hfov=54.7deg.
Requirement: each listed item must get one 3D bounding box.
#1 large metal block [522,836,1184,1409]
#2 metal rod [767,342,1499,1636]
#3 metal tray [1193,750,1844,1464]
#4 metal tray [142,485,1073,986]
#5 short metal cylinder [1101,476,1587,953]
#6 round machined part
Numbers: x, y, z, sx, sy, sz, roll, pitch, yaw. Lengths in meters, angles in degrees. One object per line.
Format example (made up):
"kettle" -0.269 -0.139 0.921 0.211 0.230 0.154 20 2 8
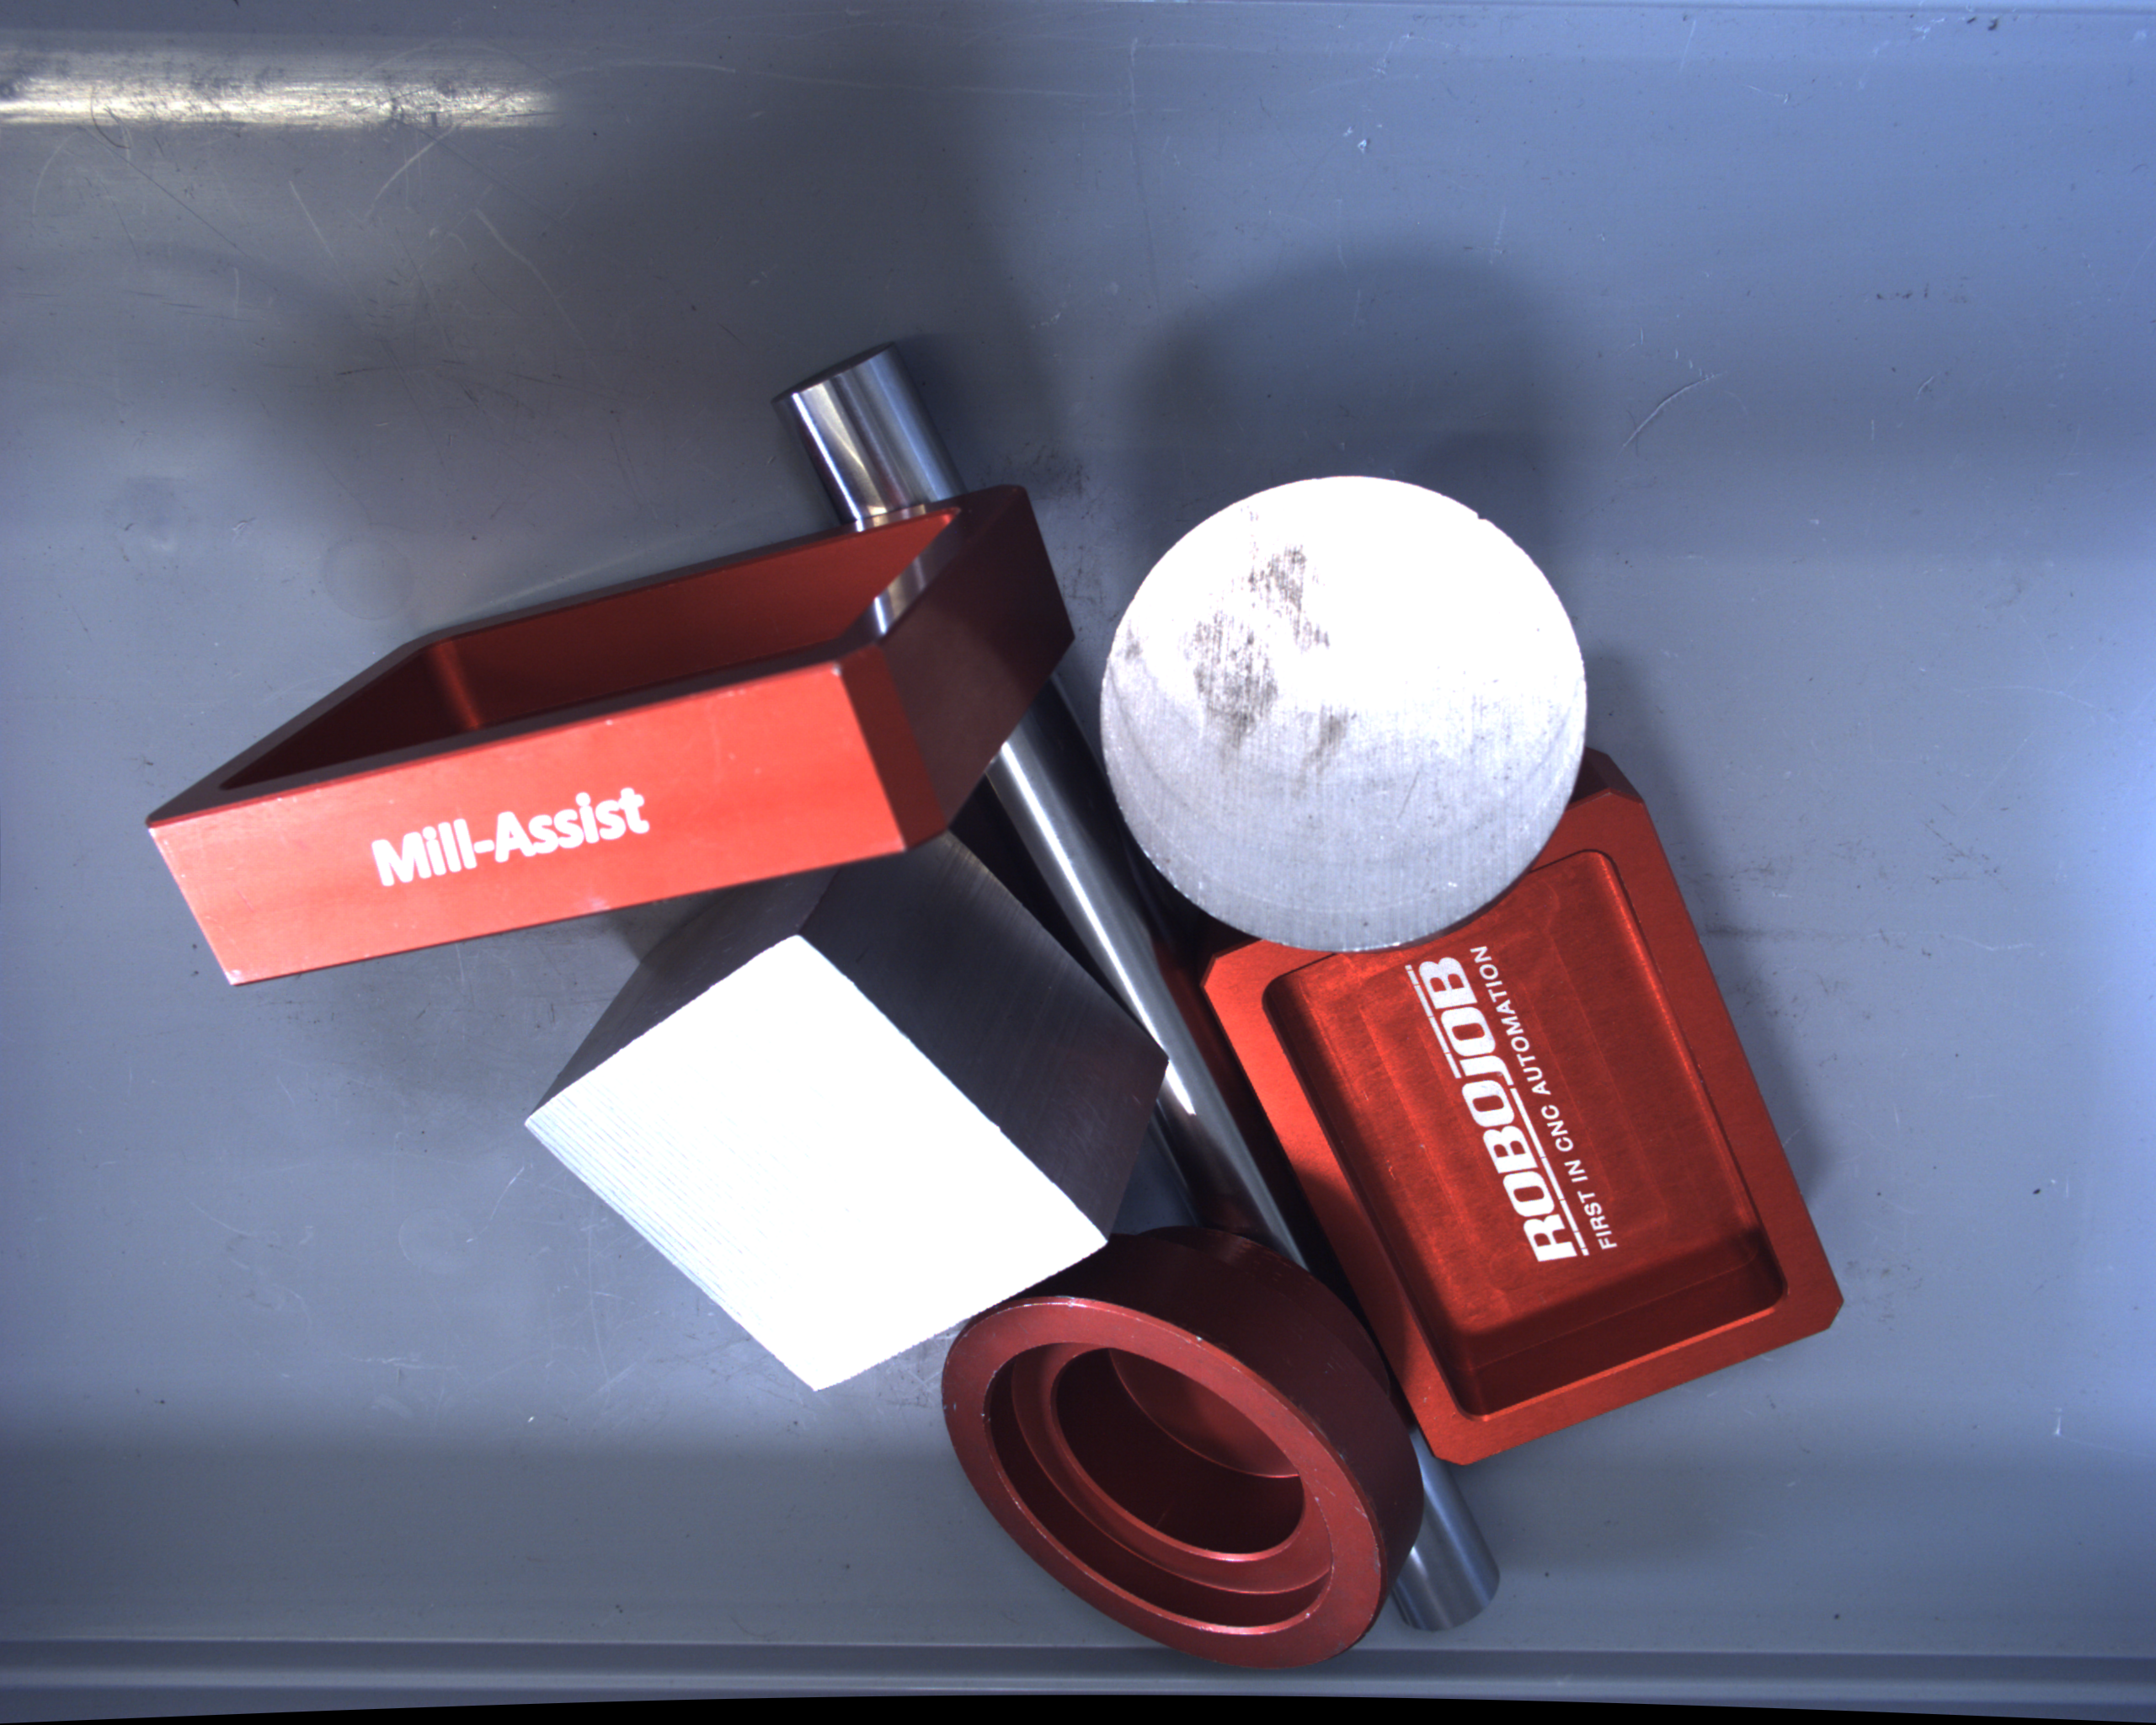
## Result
"large metal block" -0.041 0.045 0.393 0.080 0.050 0.080 -34 108 30
"metal rod" 0.019 0.038 0.423 0.025 0.025 0.299 -24 109 8
"metal tray" 0.090 0.051 0.427 0.090 0.030 0.129 -24 109 8
"metal tray" -0.075 -0.023 0.350 0.130 0.090 0.030 -11 112 19
"short metal cylinder" 0.048 -0.024 0.372 0.080 0.050 0.080 -1 86 11
"round machined part" 0.025 0.114 0.427 0.098 0.042 0.097 17 129 23
